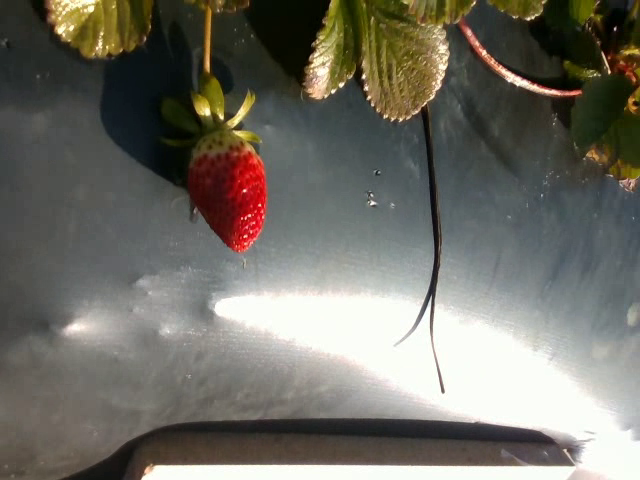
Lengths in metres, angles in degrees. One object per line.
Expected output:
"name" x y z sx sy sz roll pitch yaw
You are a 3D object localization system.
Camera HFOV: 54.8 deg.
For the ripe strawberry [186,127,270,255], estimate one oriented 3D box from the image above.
"ripe strawberry" -0.026 -0.012 0.178 0.028 0.041 0.031 -11 -20 -15
